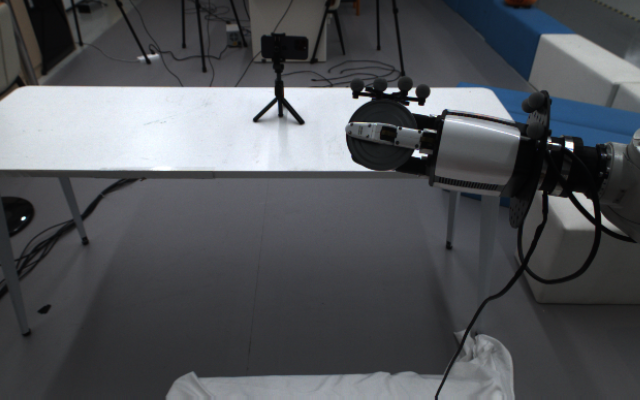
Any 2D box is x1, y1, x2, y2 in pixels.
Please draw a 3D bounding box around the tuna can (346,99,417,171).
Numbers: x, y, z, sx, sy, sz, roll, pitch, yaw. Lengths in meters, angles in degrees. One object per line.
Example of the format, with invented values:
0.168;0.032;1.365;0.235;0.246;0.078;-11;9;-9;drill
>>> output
0.077;-0.080;0.590;0.085;0.085;0.034;11;2;12;tuna can
